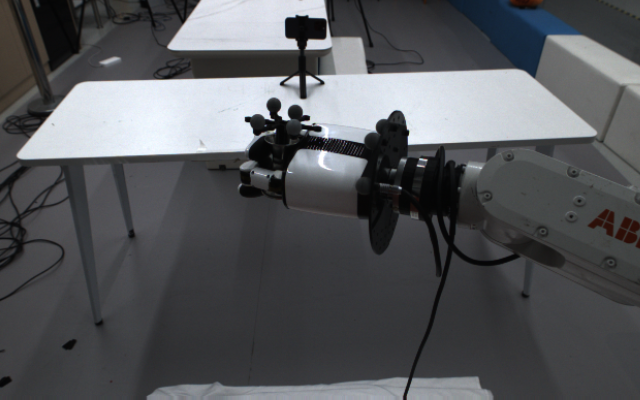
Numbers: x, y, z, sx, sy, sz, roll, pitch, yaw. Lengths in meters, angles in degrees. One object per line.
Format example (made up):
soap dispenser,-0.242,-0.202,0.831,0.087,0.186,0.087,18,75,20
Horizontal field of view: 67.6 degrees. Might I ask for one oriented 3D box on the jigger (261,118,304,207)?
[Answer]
jigger,-0.045,-0.040,0.574,0.043,0.071,0.043,6,26,-3
